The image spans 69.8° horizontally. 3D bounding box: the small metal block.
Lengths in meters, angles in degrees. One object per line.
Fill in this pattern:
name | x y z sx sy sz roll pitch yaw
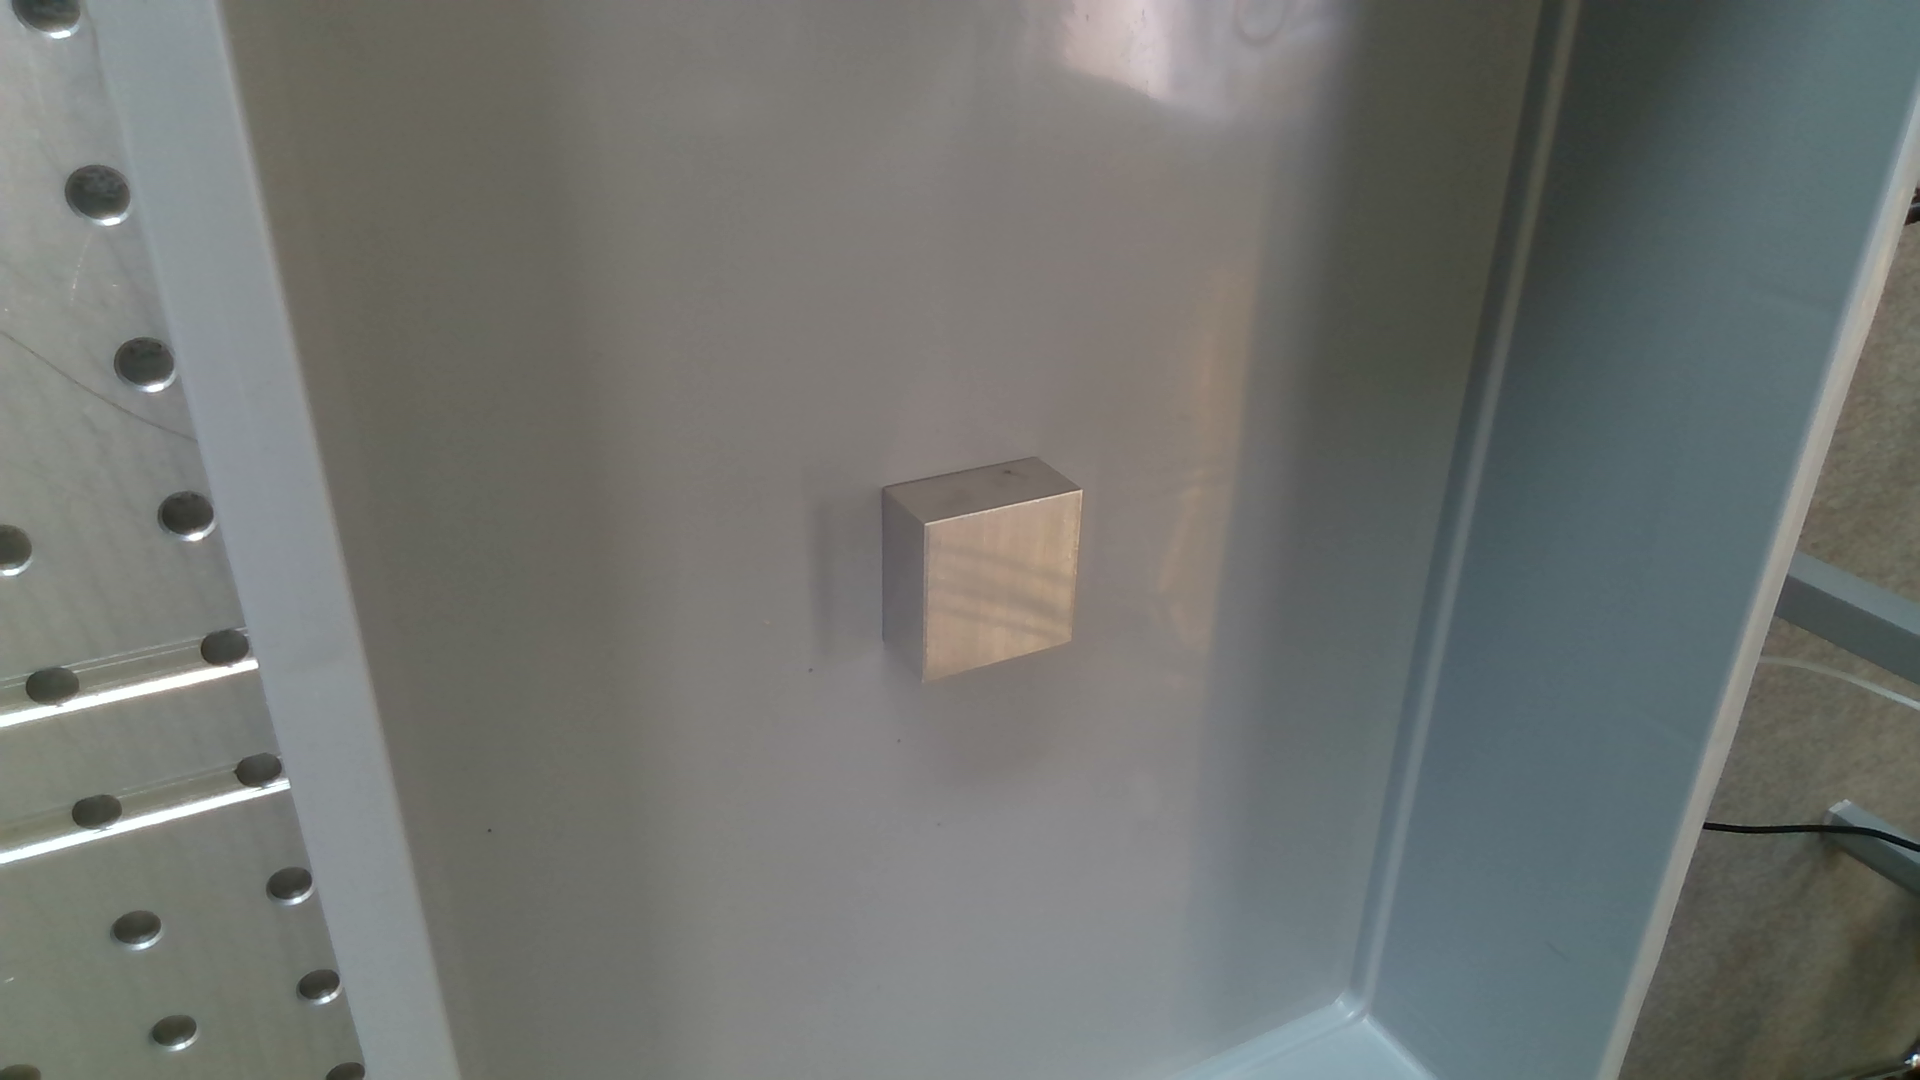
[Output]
small metal block | 0.006 0.007 0.392 0.050 0.025 0.050 -13 120 -26
